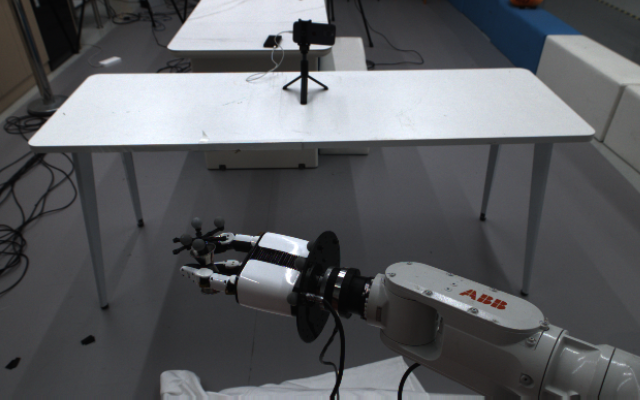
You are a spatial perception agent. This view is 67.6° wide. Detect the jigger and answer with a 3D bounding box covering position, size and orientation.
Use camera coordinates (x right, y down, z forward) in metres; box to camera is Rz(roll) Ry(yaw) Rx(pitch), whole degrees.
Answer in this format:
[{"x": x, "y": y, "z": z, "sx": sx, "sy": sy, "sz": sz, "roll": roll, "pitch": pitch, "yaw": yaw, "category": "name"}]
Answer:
[{"x": -0.168, "y": 0.103, "z": 0.745, "sx": 0.043, "sy": 0.071, "sz": 0.043, "roll": -10, "pitch": 24, "yaw": 4, "category": "jigger"}]
